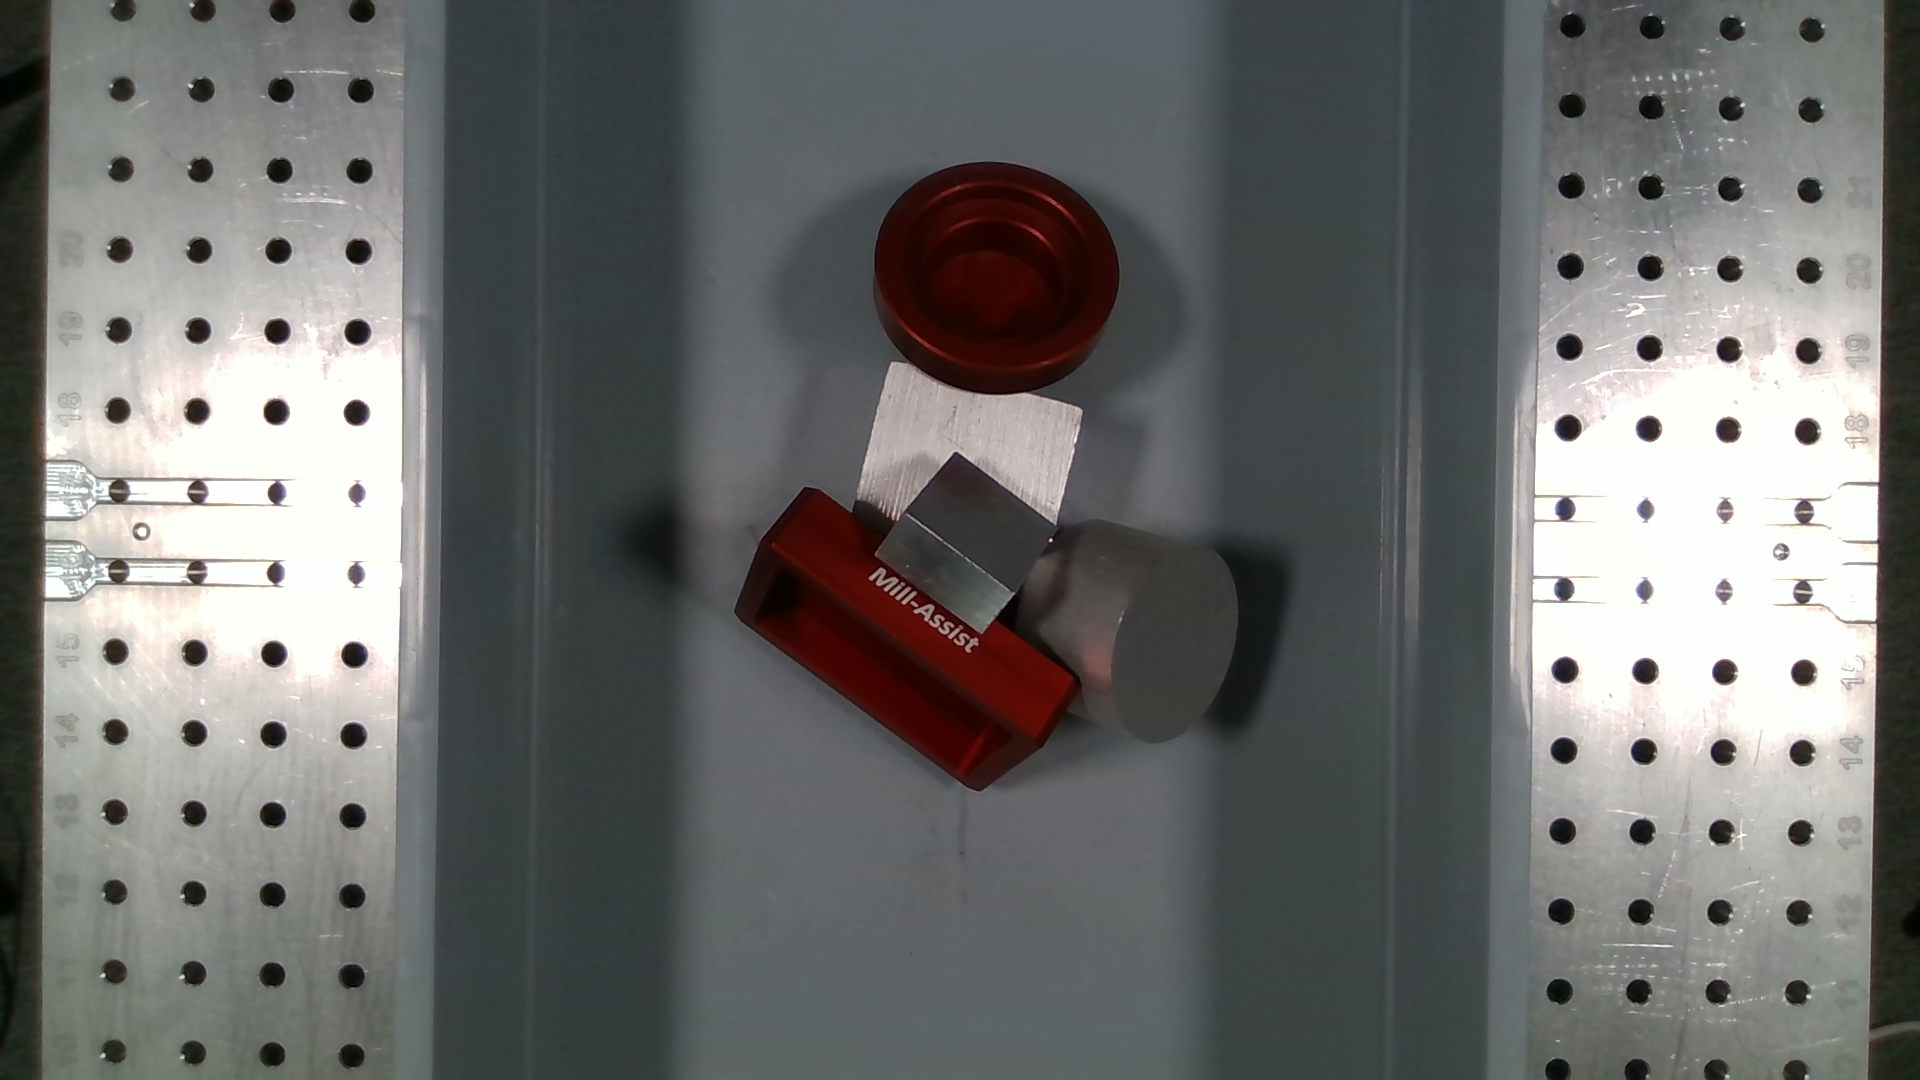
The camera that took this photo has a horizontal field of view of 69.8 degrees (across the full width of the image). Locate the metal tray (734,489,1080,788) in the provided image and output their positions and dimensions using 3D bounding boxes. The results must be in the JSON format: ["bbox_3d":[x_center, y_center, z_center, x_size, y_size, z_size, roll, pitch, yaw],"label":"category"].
[{"bbox_3d":[-0.025,0.043,0.552,0.130,0.090,0.030,36,63,-1],"label":"metal tray"}]

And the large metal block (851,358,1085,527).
[{"bbox_3d":[0.001,-0.024,0.573,0.080,0.050,0.080,15,90,0],"label":"large metal block"}]

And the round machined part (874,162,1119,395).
[{"bbox_3d":[0.013,-0.102,0.565,0.098,0.042,0.098,2,68,-5],"label":"round machined part"}]

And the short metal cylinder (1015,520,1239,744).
[{"bbox_3d":[0.068,0.036,0.552,0.050,0.080,0.080,16,90,44],"label":"short metal cylinder"}]

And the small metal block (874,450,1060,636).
[{"bbox_3d":[0.004,0.000,0.522,0.050,0.050,0.025,37,128,0],"label":"small metal block"}]
